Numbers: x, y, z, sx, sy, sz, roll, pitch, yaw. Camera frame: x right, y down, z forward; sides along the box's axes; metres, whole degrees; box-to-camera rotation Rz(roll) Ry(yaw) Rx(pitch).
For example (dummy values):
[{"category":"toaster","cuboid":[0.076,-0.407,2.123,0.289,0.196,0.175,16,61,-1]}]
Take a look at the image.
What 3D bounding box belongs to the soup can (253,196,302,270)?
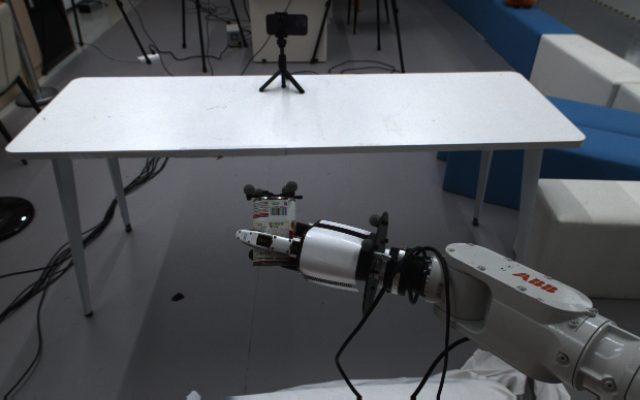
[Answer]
[{"category":"soup can","cuboid":[-0.069,0.050,0.739,0.067,0.101,0.067,-1,-9,0]}]
